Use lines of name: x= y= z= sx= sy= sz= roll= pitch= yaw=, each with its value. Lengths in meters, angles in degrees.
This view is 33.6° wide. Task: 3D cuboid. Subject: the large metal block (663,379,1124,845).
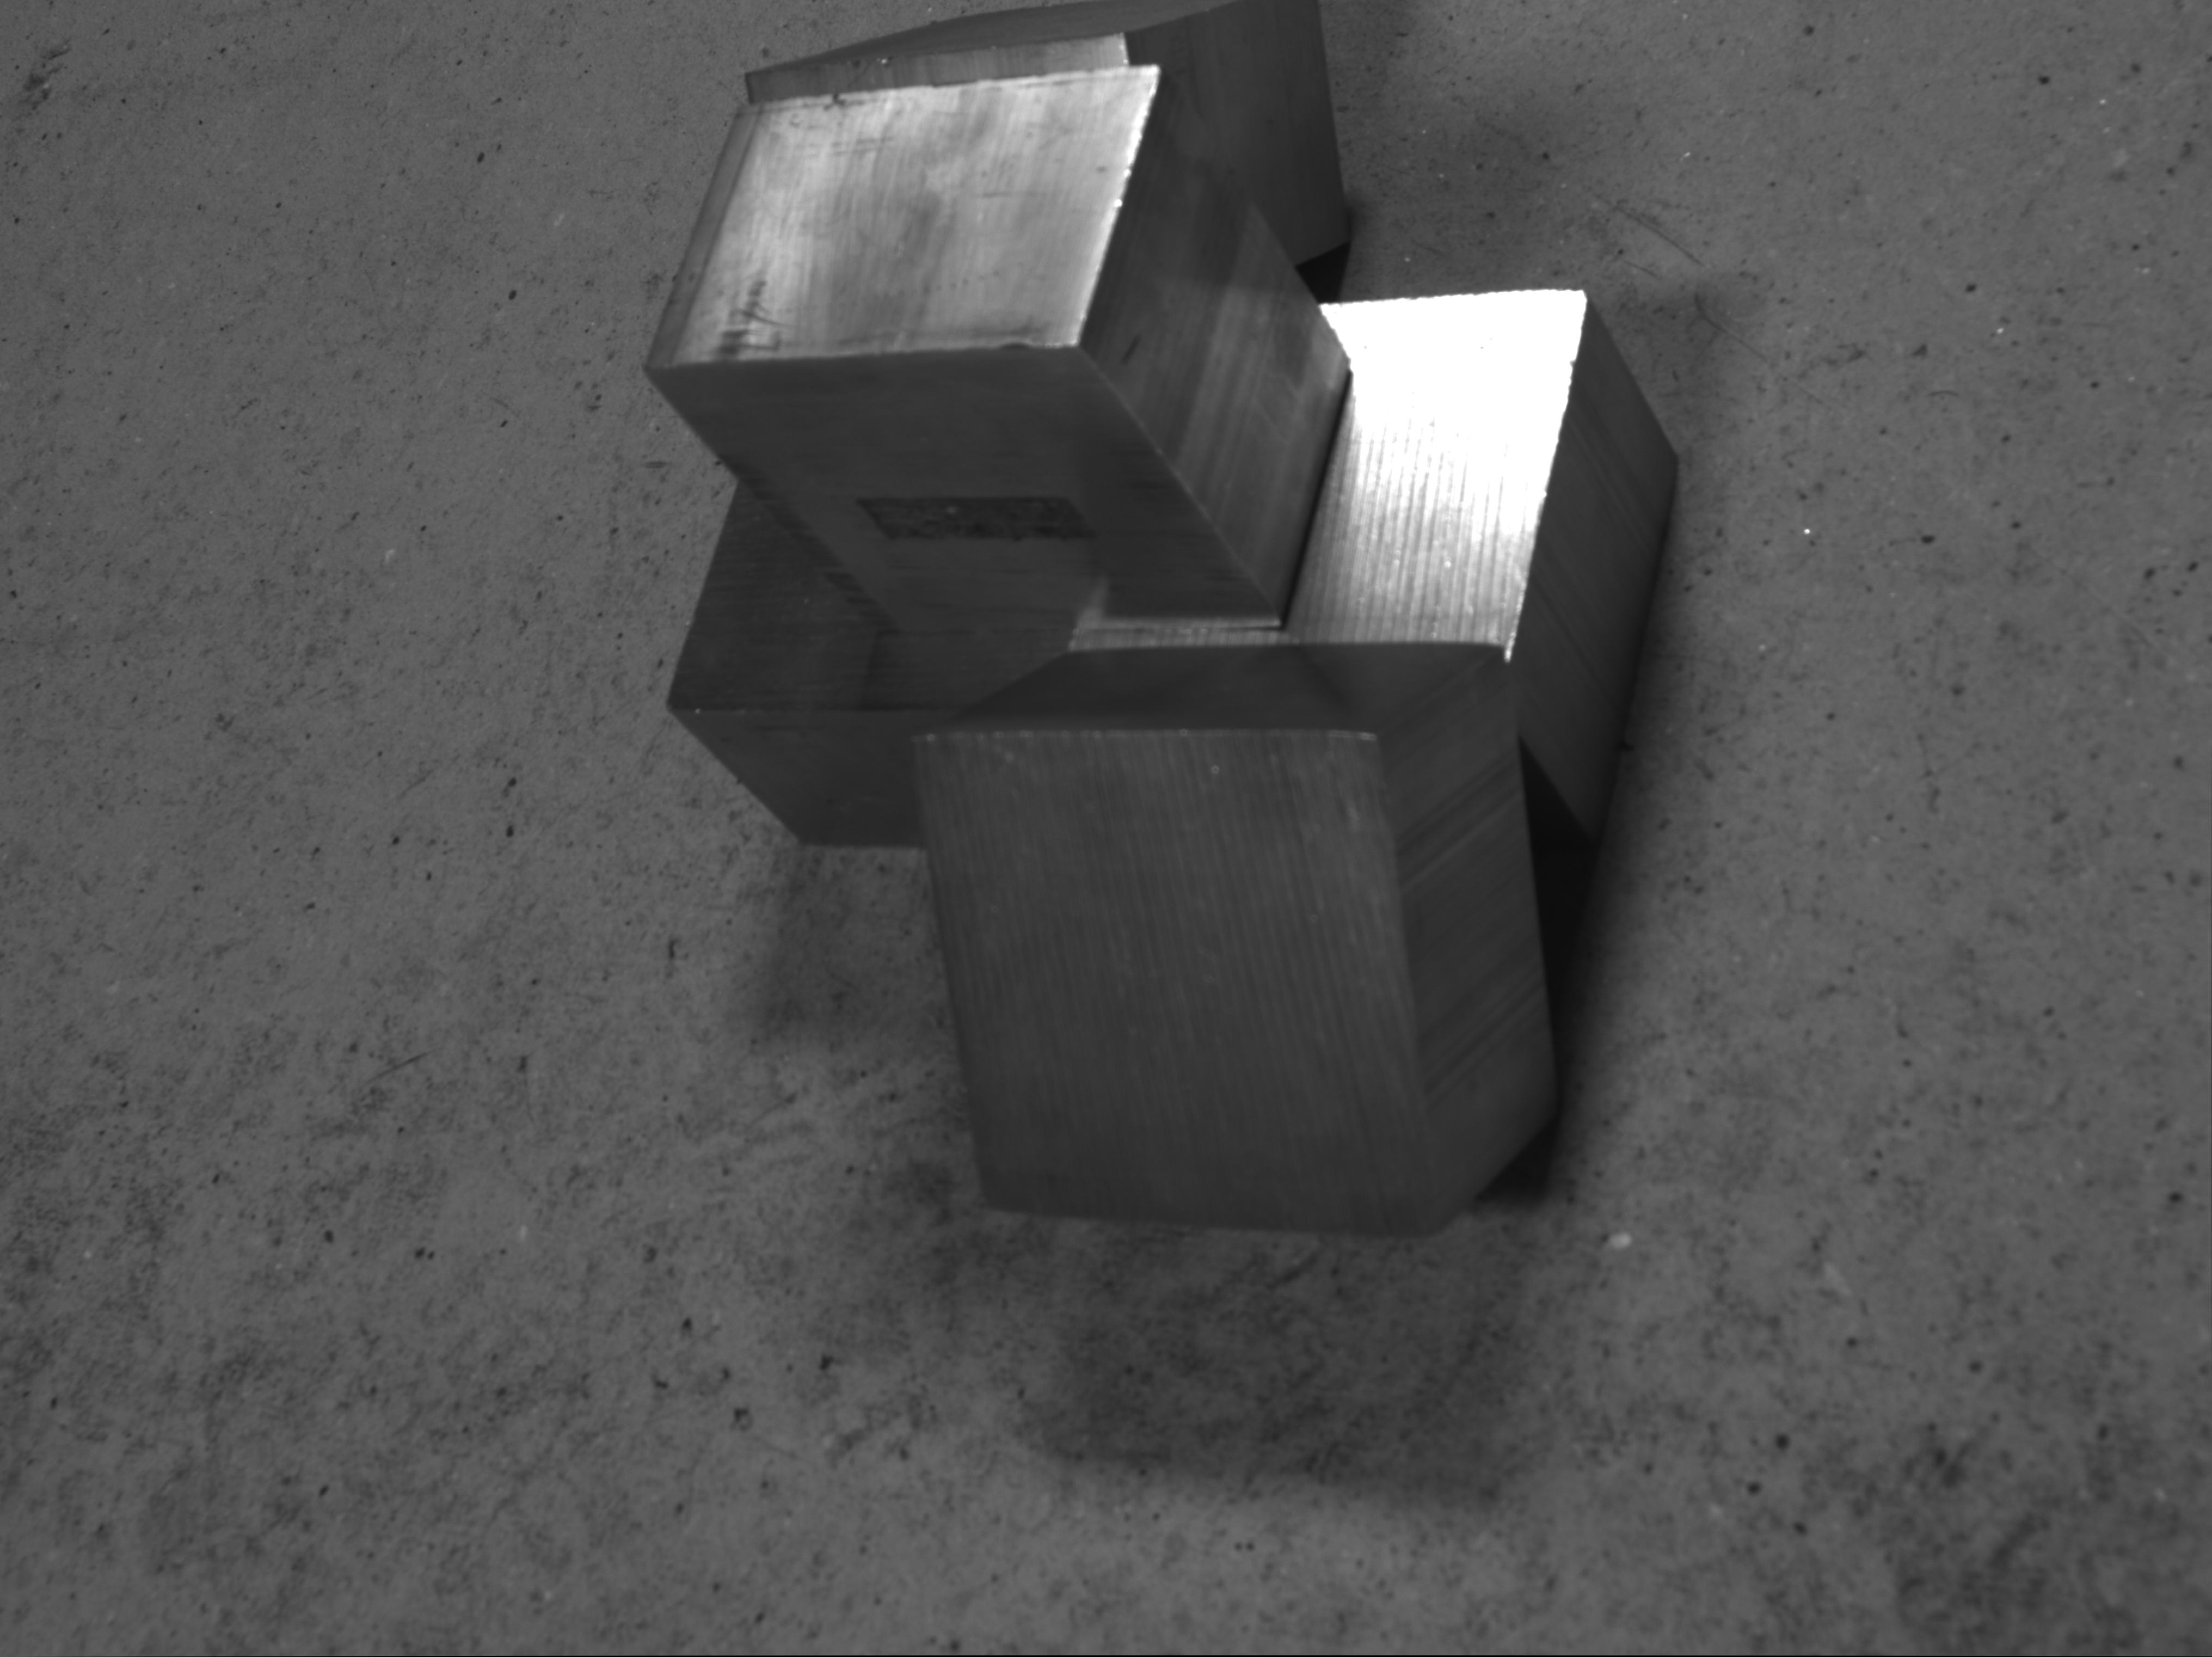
large metal block: x=-0.024 y=-0.044 z=0.666 sx=0.080 sy=0.050 sz=0.080 roll=1 pitch=62 yaw=29

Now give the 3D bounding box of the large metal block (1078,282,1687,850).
large metal block: x=0.047 y=-0.044 z=0.628 sx=0.080 sy=0.050 sz=0.080 roll=1 pitch=62 yaw=29

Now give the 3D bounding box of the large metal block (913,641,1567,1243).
large metal block: x=0.022 y=0.016 z=0.579 sx=0.080 sy=0.080 sz=0.050 roll=0 pitch=18 yaw=28

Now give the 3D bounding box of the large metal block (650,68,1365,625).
large metal block: x=-0.014 y=-0.076 z=0.599 sx=0.080 sy=0.080 sz=0.050 roll=1 pitch=62 yaw=29

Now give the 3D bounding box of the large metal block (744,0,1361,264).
large metal block: x=-0.008 y=-0.125 z=0.683 sx=0.080 sy=0.050 sz=0.080 roll=0 pitch=18 yaw=29
